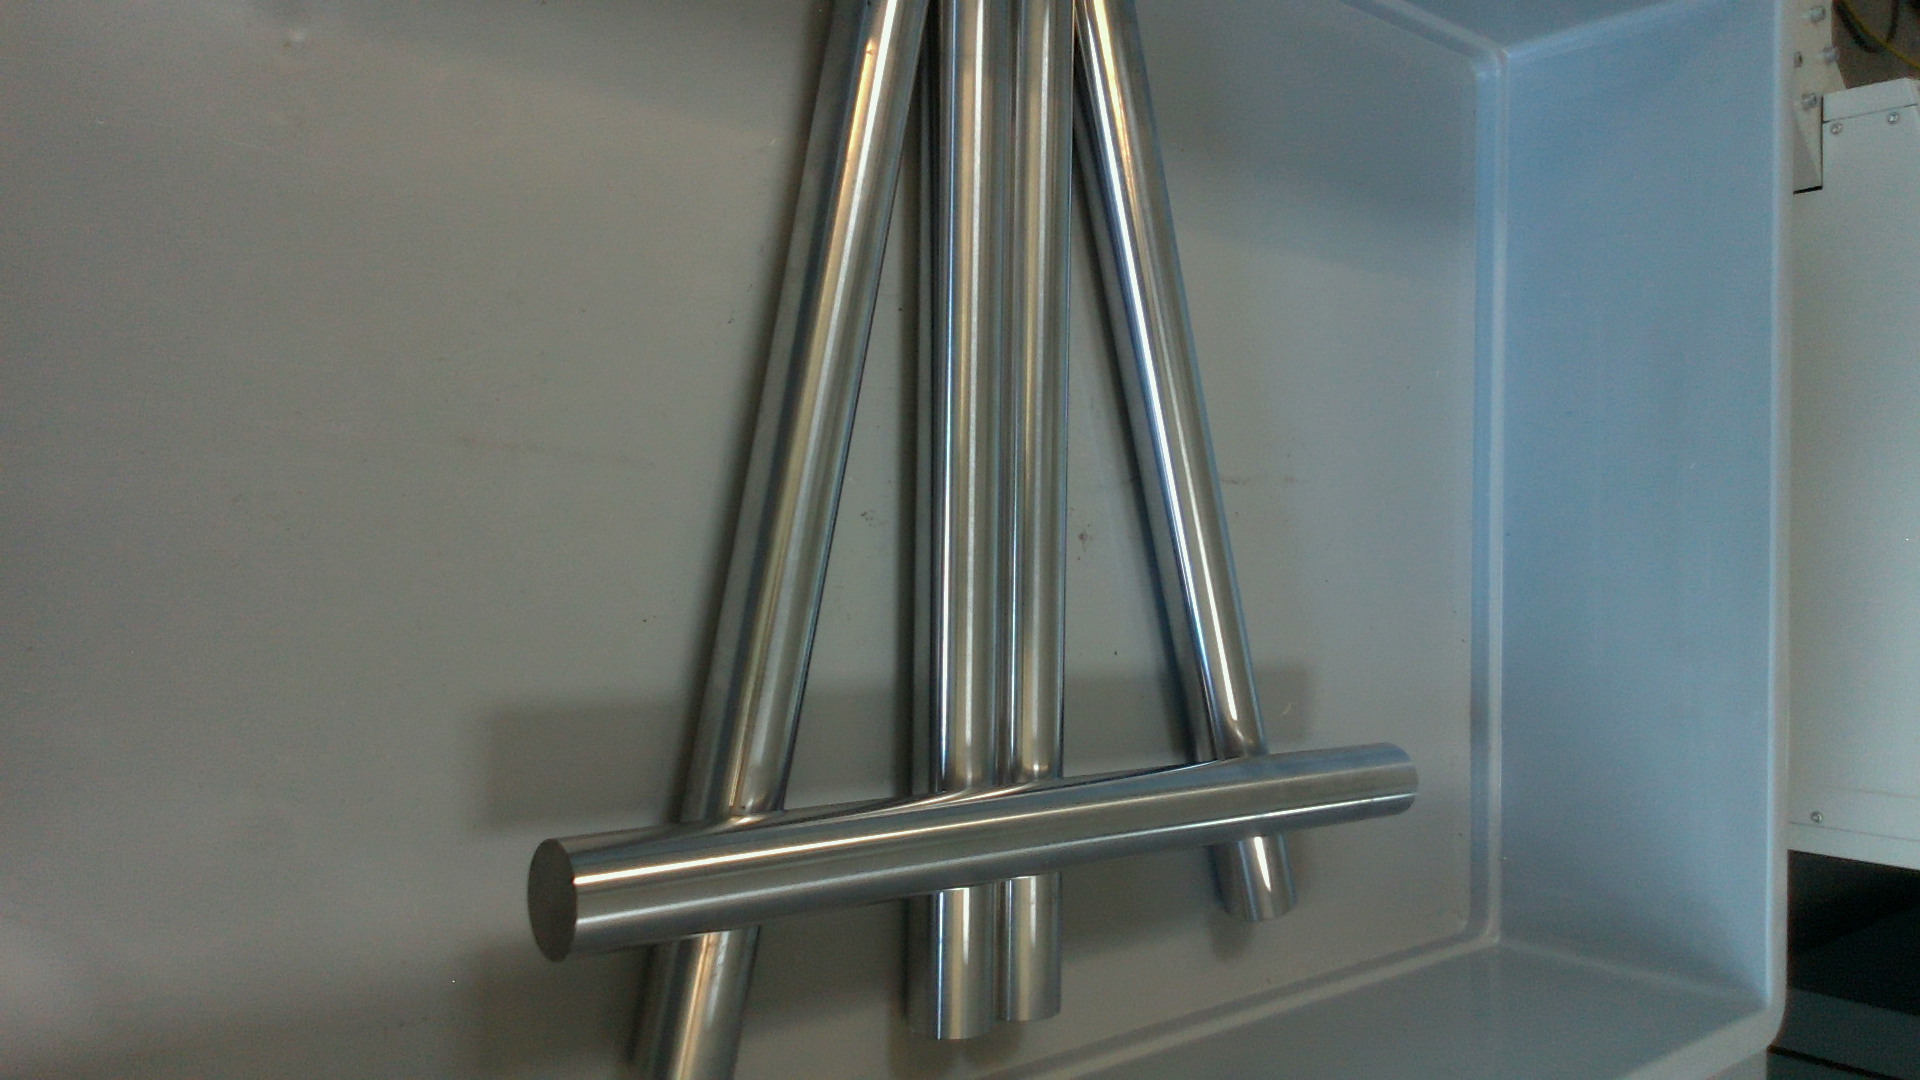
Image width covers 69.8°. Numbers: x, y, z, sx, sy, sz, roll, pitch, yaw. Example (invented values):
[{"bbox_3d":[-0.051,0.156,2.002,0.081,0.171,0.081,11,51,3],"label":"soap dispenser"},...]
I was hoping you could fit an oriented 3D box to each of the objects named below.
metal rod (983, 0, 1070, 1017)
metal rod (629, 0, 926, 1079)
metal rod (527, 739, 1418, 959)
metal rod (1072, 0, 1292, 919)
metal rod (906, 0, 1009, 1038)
[{"bbox_3d":[0.018,-0.015,0.403,0.025,0.025,0.300,1,89,-40],"label":"metal rod"},{"bbox_3d":[-0.043,-0.017,0.352,0.025,0.025,0.300,16,80,-39],"label":"metal rod"},{"bbox_3d":[0.031,0.077,0.380,0.301,0.025,0.025,2,89,-40],"label":"metal rod"},{"bbox_3d":[0.070,-0.020,0.446,0.025,0.025,0.300,-20,103,-38],"label":"metal rod"},{"bbox_3d":[-0.001,-0.015,0.387,0.025,0.025,0.300,1,89,-40],"label":"metal rod"}]
